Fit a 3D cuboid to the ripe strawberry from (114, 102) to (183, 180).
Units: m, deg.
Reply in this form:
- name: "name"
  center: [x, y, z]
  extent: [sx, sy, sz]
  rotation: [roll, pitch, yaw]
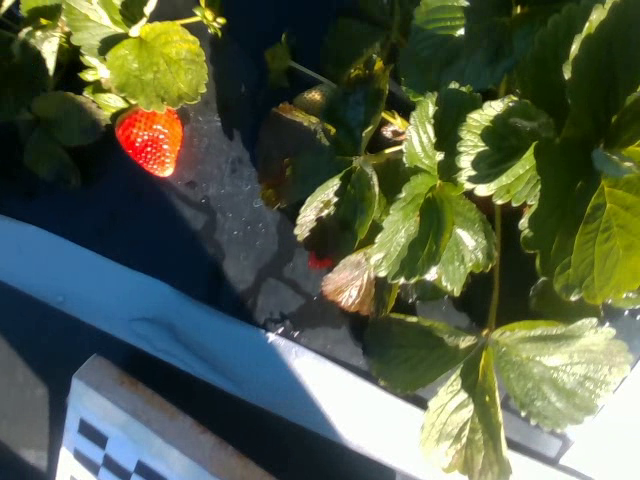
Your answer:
- name: "ripe strawberry"
  center: [-0.109, -0.064, 0.379]
  extent: [0.045, 0.059, 0.042]
  rotation: [-25, 0, 40]
